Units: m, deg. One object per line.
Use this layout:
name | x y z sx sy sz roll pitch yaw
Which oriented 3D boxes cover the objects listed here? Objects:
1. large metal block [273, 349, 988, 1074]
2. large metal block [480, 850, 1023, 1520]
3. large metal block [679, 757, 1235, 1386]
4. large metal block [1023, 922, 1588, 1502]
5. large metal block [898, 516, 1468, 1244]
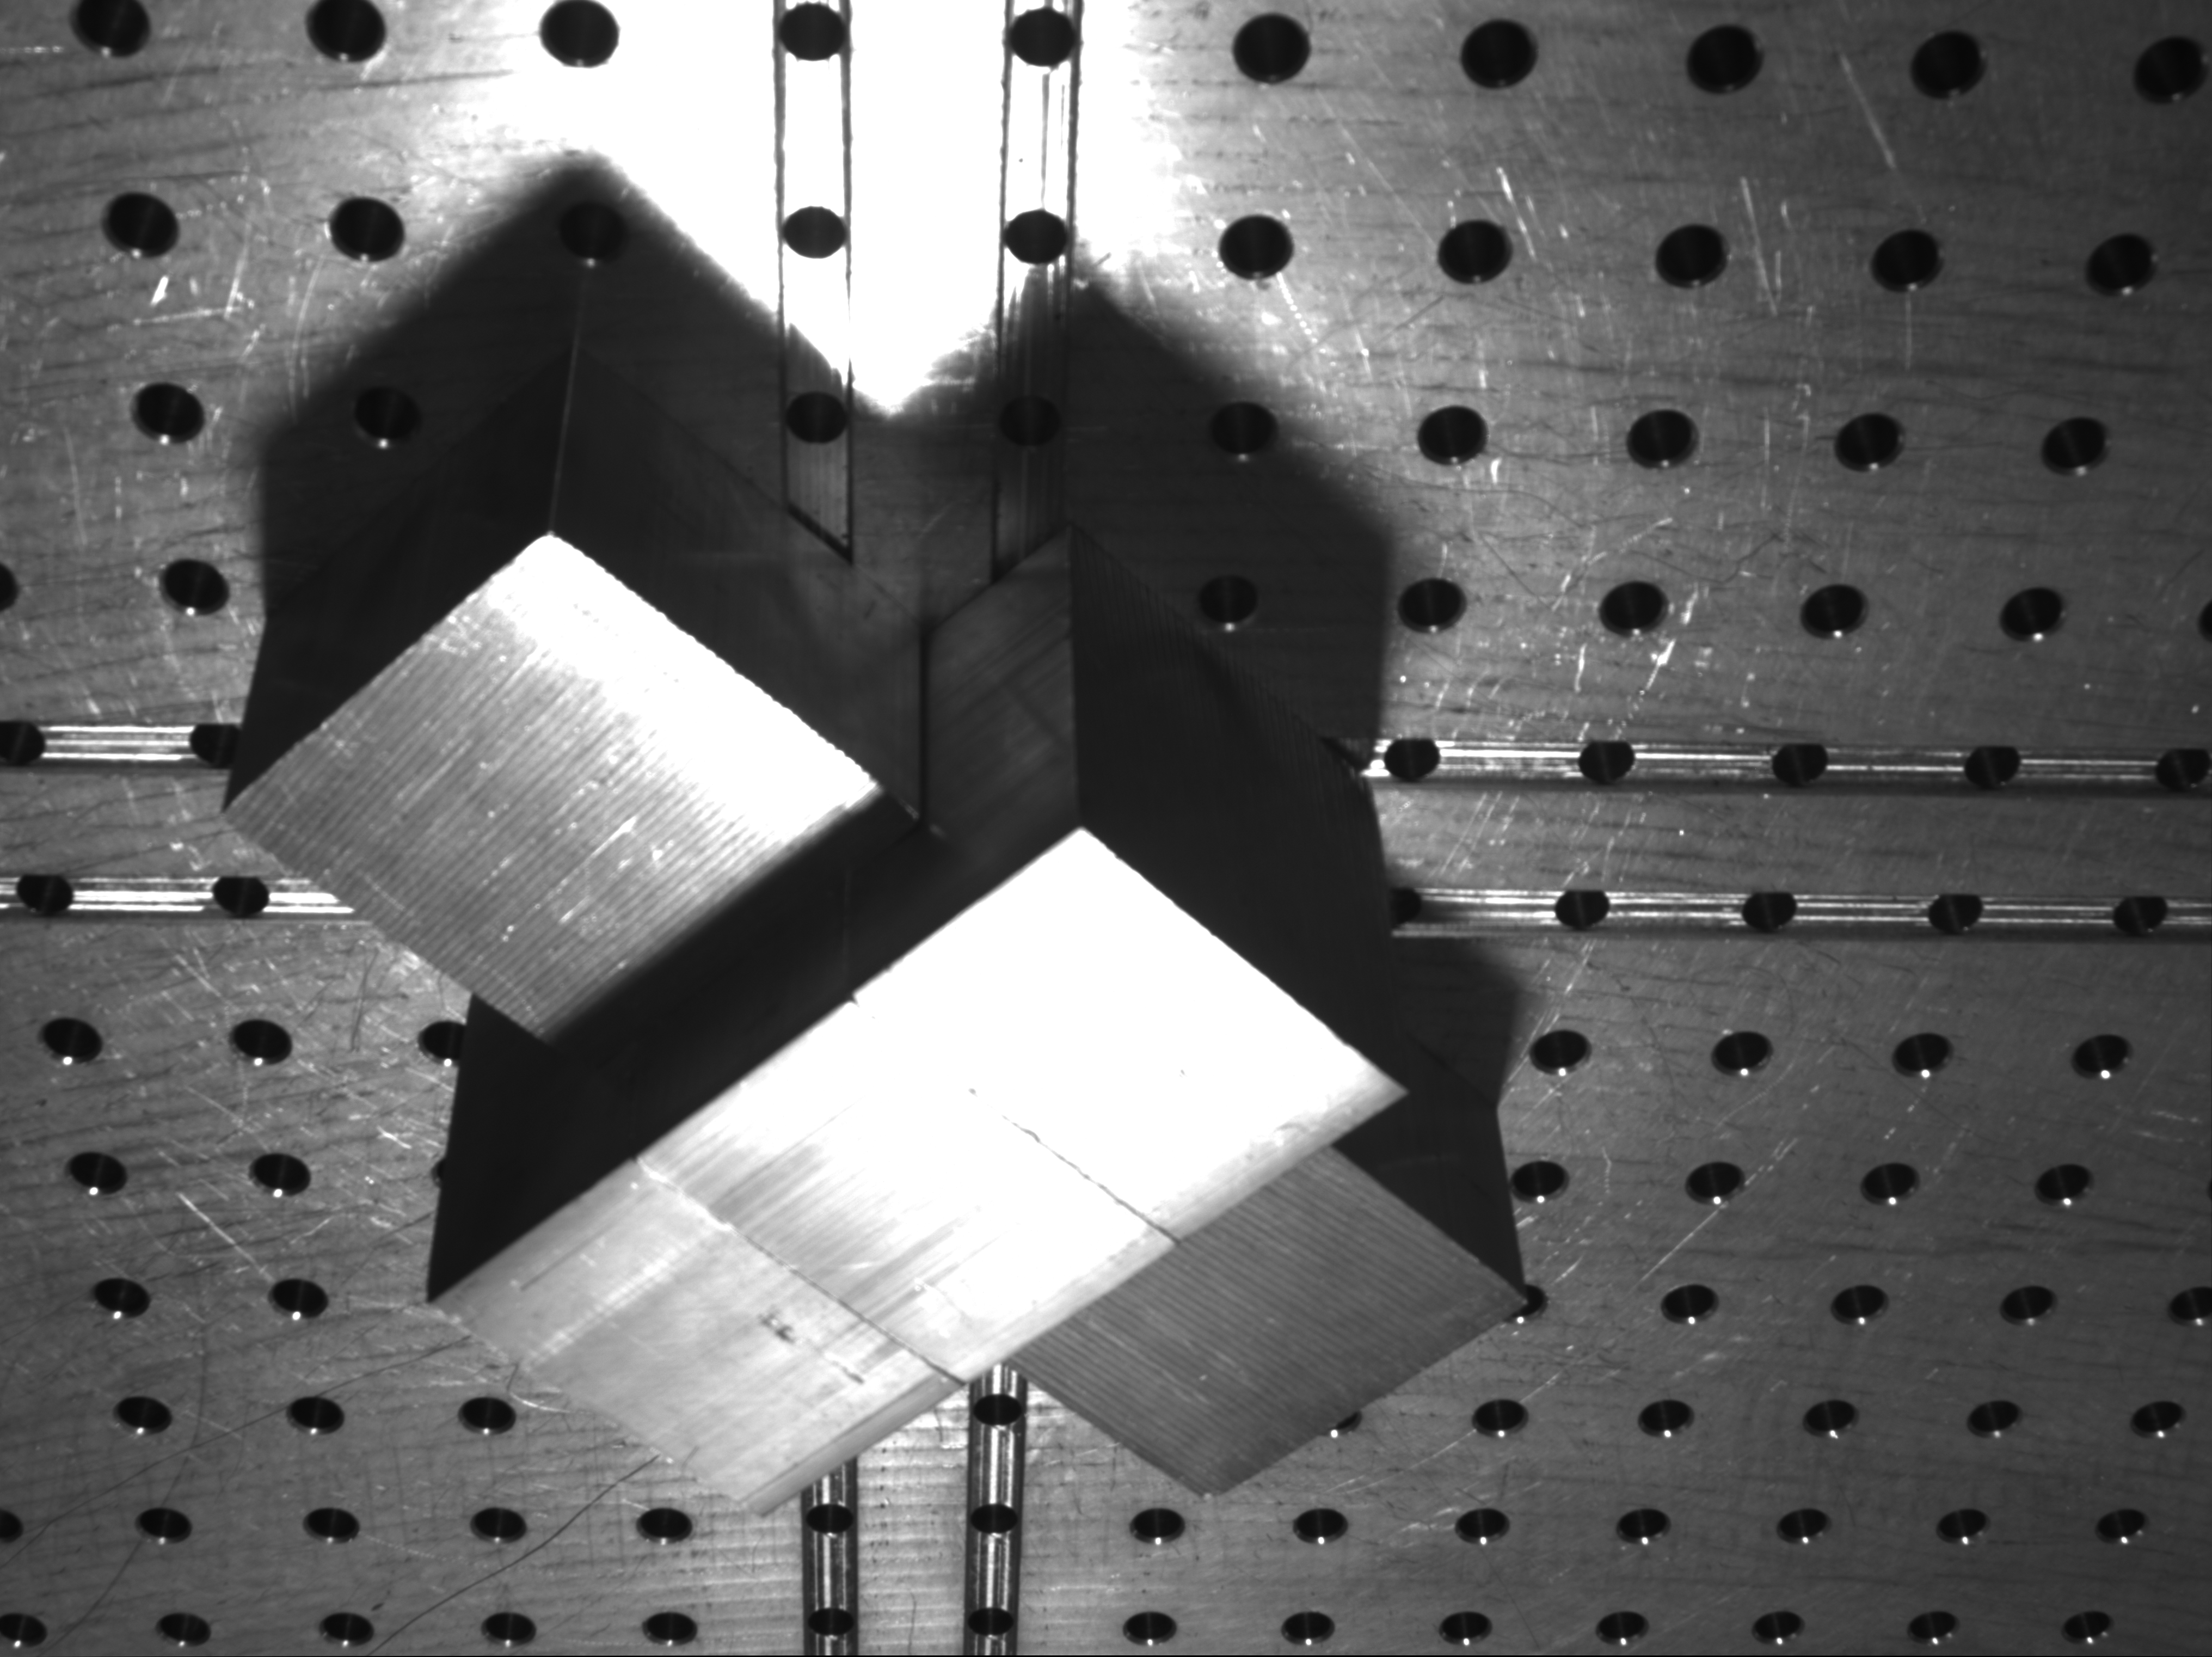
large metal block | -0.077 -0.018 0.604 0.080 0.050 0.080 -37 122 27
large metal block | -0.061 0.063 0.657 0.050 0.080 0.080 -36 122 25
large metal block | -0.025 0.036 0.635 0.050 0.080 0.080 -36 122 25
large metal block | 0.031 0.070 0.685 0.080 0.050 0.080 -35 123 26
large metal block | 0.012 0.009 0.614 0.050 0.080 0.080 -36 122 25
